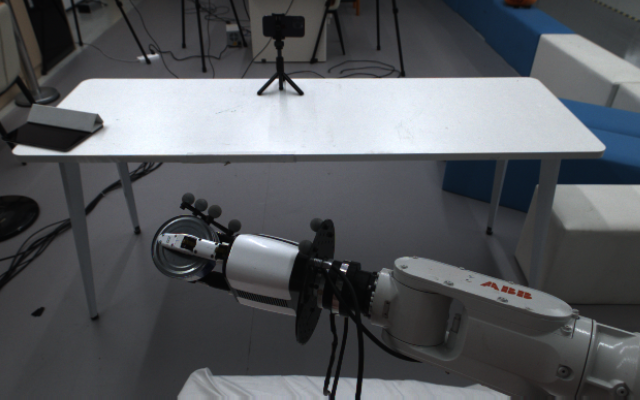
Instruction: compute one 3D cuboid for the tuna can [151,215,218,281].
[{"bbox_3d":[-0.177,0.066,0.649,0.085,0.034,0.085,-2,70,6],"label":"tuna can"}]
